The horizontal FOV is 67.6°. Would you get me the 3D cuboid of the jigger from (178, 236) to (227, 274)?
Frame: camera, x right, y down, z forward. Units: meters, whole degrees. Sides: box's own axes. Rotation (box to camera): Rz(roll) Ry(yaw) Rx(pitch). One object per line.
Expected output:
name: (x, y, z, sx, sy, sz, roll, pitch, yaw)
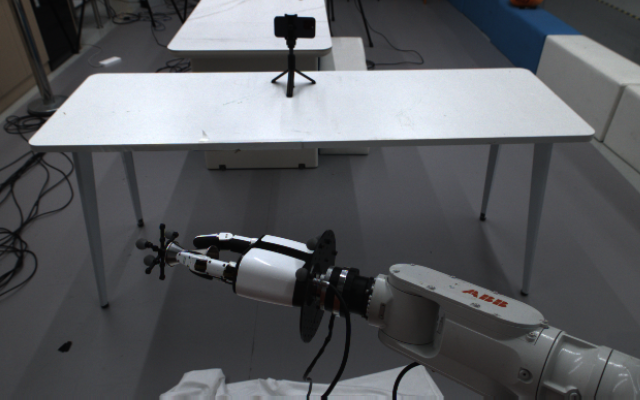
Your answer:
jigger: (-0.185, 0.081, 0.730, 0.071, 0.043, 0.043, 5, 34, 15)
